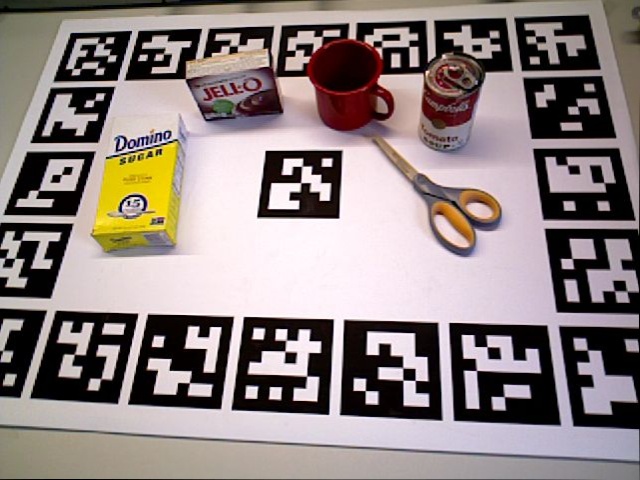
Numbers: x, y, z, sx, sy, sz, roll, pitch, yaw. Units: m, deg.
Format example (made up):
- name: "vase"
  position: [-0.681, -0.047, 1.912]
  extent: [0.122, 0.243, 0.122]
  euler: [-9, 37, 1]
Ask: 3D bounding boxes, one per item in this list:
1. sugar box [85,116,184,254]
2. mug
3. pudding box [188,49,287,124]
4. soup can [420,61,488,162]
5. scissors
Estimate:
- name: "sugar box"
  position: [-0.229, -0.071, 0.684]
  extent: [0.093, 0.046, 0.174]
  euler: [-2, 67, 7]
- name: "mug"
  position: [0.045, -0.188, 0.682]
  extent: [0.092, 0.082, 0.116]
  euler: [-32, 64, -7]
- name: "pudding box"
  position: [-0.103, -0.195, 0.694]
  extent: [0.113, 0.091, 0.038]
  euler: [-7, 70, 2]
- name: "soup can"
  position: [0.157, -0.151, 0.649]
  extent: [0.068, 0.103, 0.067]
  euler: [-3, 62, 5]
- name: "scissors"
  position: [0.130, -0.050, 0.643]
  extent: [0.087, 0.016, 0.202]
  euler: [-41, 68, -2]
